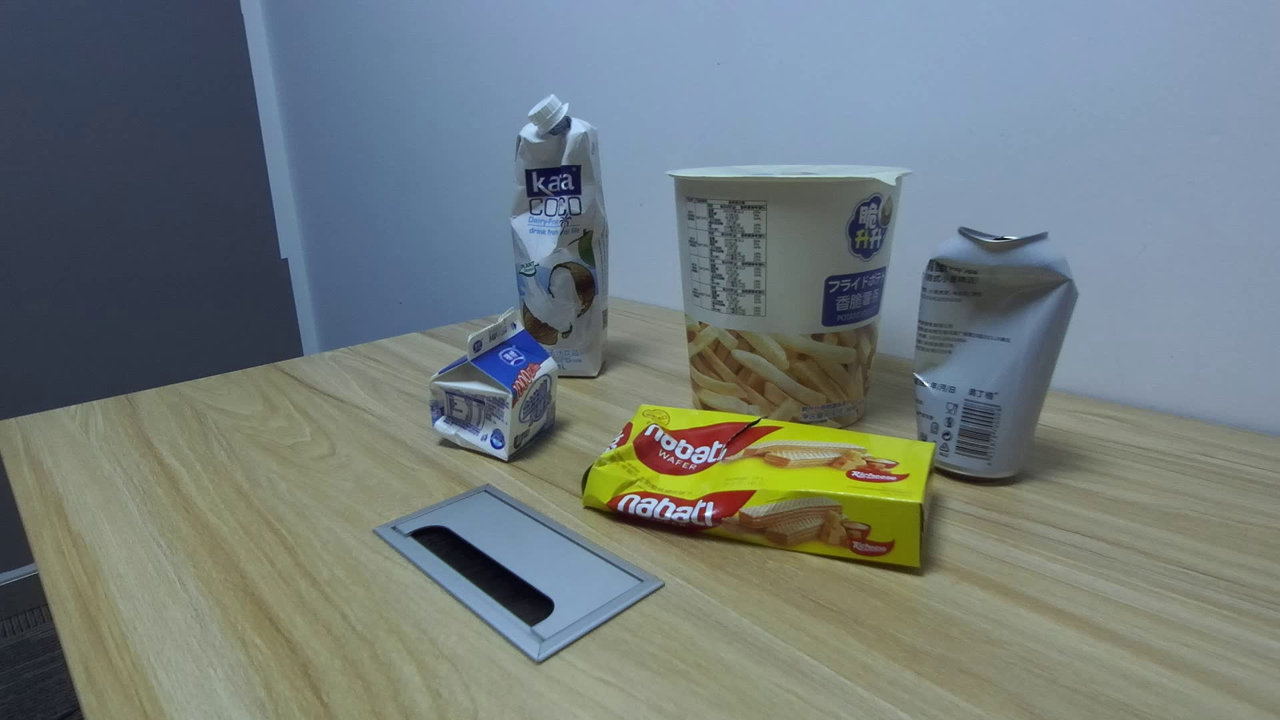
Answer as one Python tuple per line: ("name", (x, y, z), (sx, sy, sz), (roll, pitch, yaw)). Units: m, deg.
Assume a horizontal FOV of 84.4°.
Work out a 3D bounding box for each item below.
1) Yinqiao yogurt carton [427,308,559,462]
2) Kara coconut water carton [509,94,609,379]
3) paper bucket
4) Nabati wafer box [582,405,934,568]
("Yinqiao yogurt carton", (-0.112, 0.014, 0.531), (0.080, 0.097, 0.074), (12, 21, 18))
("Kara coconut water carton", (-0.076, -0.112, 0.663), (0.083, 0.255, 0.078), (5, 21, 18))
("paper bucket", (0.116, -0.055, 0.580), (0.198, 0.194, 0.198), (-1, 17, 1))
("Nabati wafer box", (0.068, 0.072, 0.432), (0.203, 0.042, 0.107), (5, 17, 24))
